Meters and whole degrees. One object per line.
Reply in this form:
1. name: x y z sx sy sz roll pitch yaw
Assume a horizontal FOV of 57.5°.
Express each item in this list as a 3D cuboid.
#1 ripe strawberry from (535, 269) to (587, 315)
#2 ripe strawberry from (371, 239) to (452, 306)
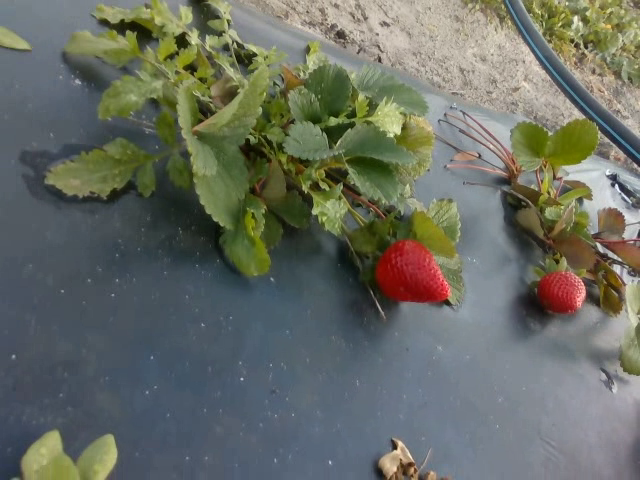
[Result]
1. ripe strawberry: 0.183 0.044 0.430 0.041 0.045 0.052 -18 15 9
2. ripe strawberry: 0.058 0.024 0.337 0.051 0.046 0.050 49 -12 -26
